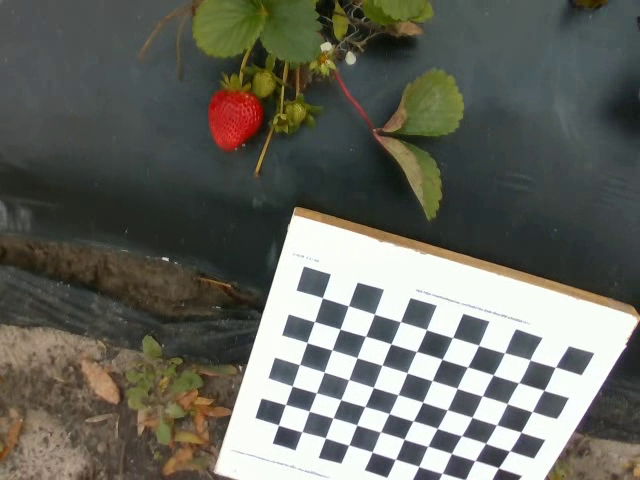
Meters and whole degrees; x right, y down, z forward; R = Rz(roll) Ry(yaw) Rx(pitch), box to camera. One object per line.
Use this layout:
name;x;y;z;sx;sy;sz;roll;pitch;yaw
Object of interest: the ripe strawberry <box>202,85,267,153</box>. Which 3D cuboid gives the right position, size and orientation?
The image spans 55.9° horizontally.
ripe strawberry;-0.020;-0.027;0.135;0.018;0.017;0.014;18;-21;-12
